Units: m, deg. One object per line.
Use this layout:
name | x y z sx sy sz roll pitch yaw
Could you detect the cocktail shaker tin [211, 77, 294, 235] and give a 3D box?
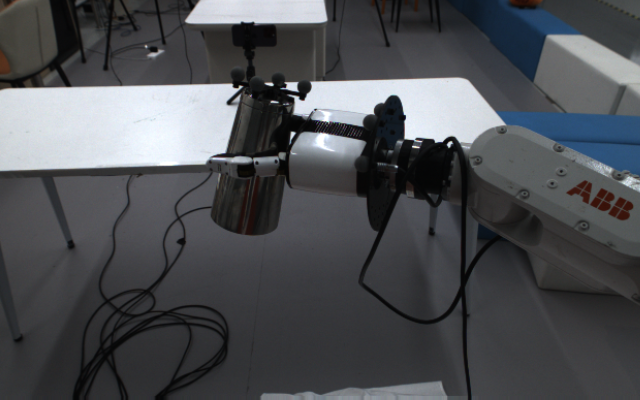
cocktail shaker tin | -0.080 -0.053 0.618 0.093 0.170 0.093 12 24 -5
